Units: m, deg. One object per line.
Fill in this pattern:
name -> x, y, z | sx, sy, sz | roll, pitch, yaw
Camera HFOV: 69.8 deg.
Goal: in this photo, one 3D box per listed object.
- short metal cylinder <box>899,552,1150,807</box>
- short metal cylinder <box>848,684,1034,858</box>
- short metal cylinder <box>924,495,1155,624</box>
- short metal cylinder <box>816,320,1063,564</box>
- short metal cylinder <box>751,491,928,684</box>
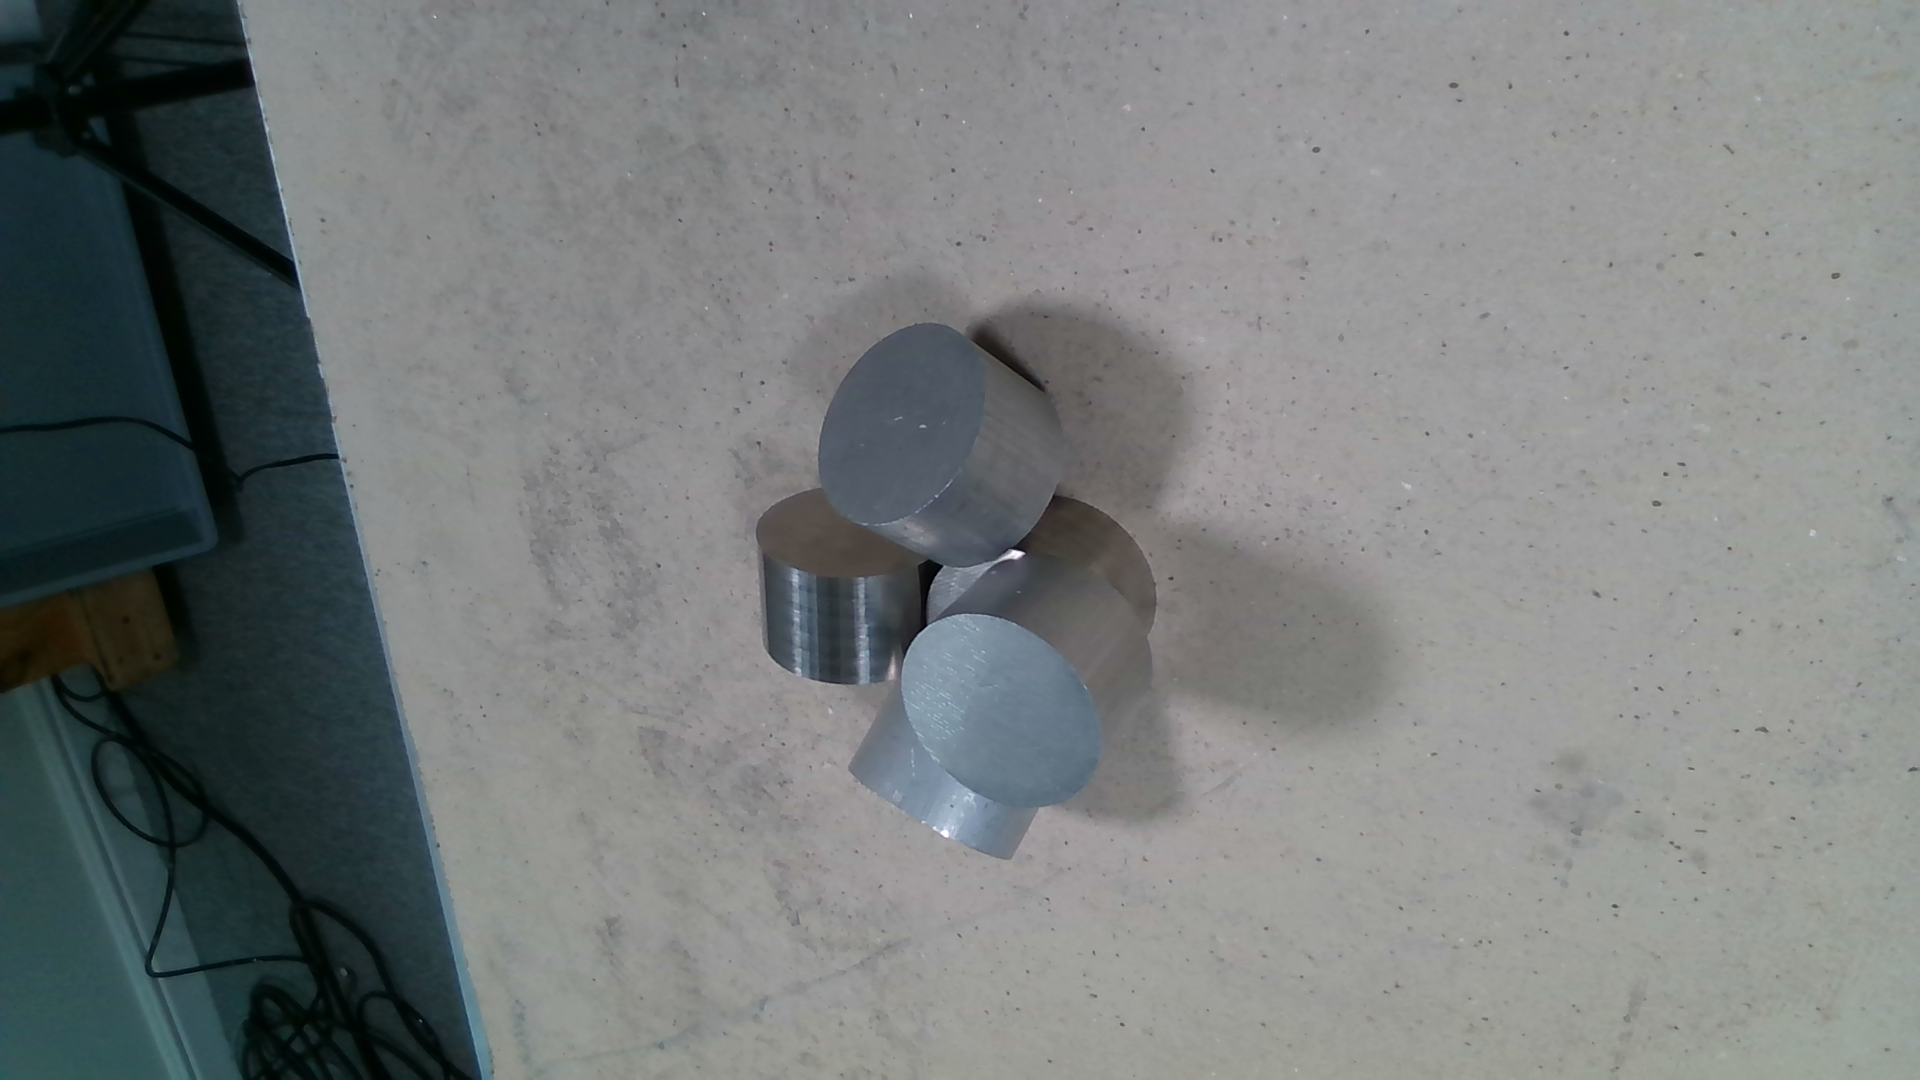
short metal cylinder -> 0.025, 0.051, 0.511 | 0.080, 0.050, 0.080 | 14, 122, 25
short metal cylinder -> -0.001, 0.093, 0.589 | 0.080, 0.080, 0.050 | 27, 88, 16
short metal cylinder -> 0.033, 0.028, 0.560 | 0.080, 0.050, 0.080 | 14, 122, 25
short metal cylinder -> -0.008, -0.036, 0.523 | 0.080, 0.050, 0.080 | -17, 62, 34
short metal cylinder -> -0.046, 0.017, 0.581 | 0.080, 0.080, 0.050 | 16, 122, 24
